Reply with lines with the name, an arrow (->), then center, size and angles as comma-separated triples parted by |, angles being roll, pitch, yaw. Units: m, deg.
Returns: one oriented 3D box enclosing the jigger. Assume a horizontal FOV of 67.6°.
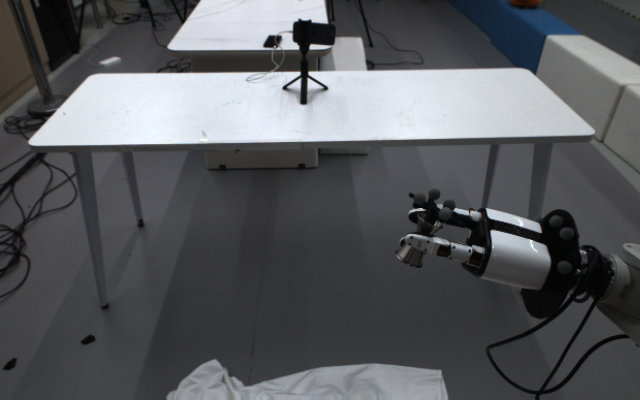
jigger -> 0.141, 0.056, 0.695 | 0.043, 0.071, 0.043 | 23, 19, -8
